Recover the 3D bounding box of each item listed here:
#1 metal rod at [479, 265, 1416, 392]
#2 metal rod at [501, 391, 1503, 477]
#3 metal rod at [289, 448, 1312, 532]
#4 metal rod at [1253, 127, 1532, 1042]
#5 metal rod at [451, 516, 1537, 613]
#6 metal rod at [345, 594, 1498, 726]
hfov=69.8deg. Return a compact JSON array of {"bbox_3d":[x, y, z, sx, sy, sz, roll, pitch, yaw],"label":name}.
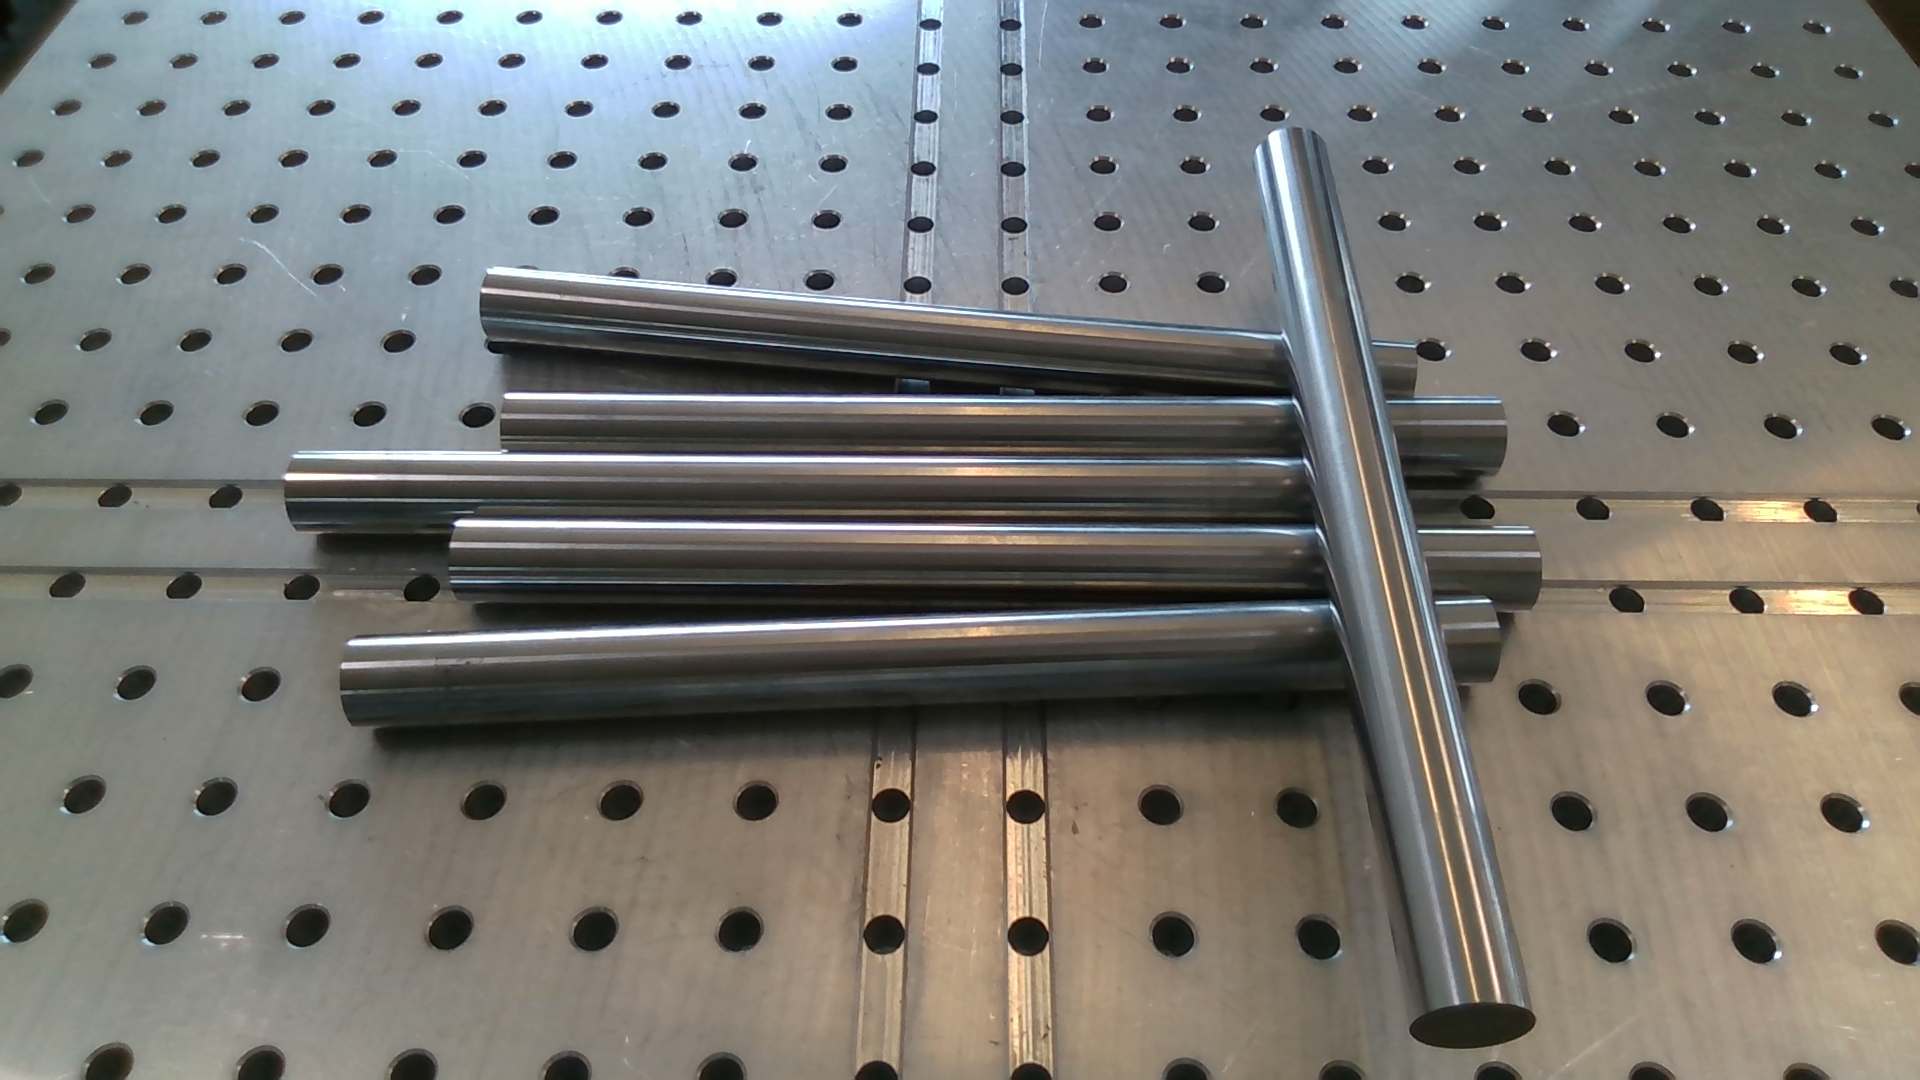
[{"bbox_3d":[-0.007,-0.066,0.450,0.300,0.025,0.025,5,50,5],"label":"metal rod"},{"bbox_3d":[0.012,-0.033,0.425,0.300,0.025,0.025,0,50,0],"label":"metal rod"},{"bbox_3d":[-0.044,-0.014,0.408,0.300,0.025,0.025,0,50,1],"label":"metal rod"},{"bbox_3d":[0.109,-0.016,0.378,0.025,0.025,0.299,1,50,1],"label":"metal rod"},{"bbox_3d":[0.009,0.007,0.393,0.300,0.025,0.025,1,50,0],"label":"metal rod"},{"bbox_3d":[-0.009,0.032,0.370,0.300,0.025,0.025,-2,50,-2],"label":"metal rod"}]
